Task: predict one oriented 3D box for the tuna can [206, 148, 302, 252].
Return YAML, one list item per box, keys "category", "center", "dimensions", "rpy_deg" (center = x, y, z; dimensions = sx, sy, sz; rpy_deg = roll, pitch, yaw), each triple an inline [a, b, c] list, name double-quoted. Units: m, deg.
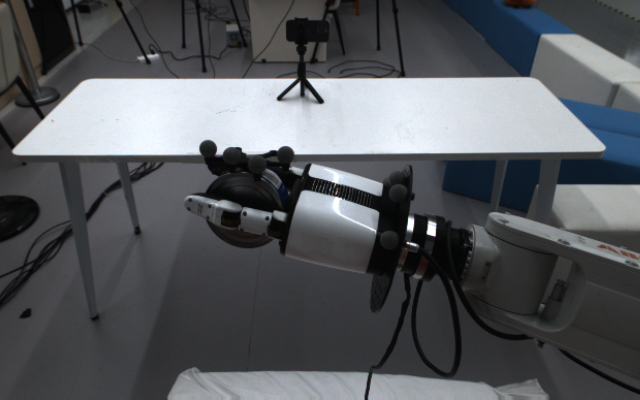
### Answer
- category: "tuna can"
  center: [-0.074, 0.006, 0.509]
  dimensions: [0.085, 0.085, 0.034]
  rpy_deg: [6, 22, 6]
